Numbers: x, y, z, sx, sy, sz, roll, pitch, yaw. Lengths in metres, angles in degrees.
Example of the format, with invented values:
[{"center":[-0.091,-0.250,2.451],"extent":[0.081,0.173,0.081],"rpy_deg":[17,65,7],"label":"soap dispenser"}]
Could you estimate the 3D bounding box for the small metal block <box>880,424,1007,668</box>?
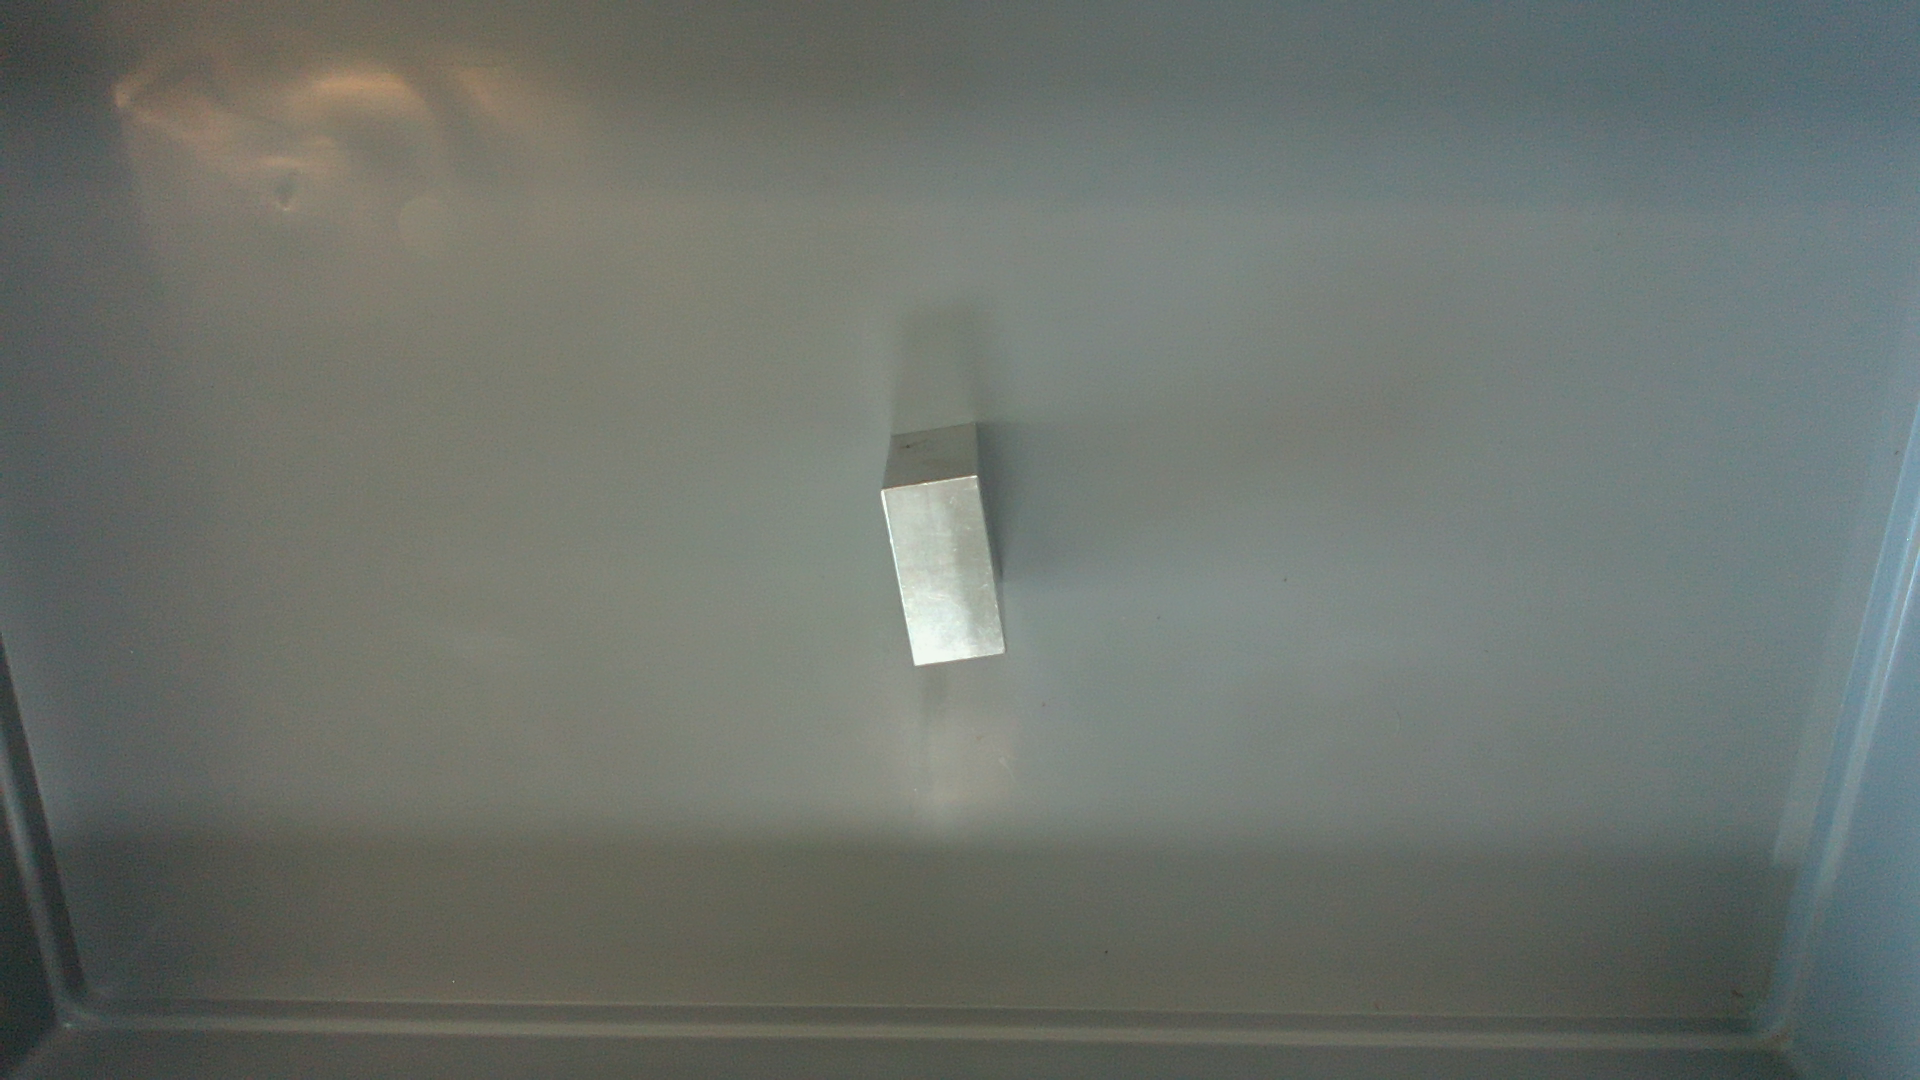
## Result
[{"center":[-0.004,0.000,0.377],"extent":[0.025,0.050,0.050],"rpy_deg":[-8,109,3],"label":"small metal block"}]
